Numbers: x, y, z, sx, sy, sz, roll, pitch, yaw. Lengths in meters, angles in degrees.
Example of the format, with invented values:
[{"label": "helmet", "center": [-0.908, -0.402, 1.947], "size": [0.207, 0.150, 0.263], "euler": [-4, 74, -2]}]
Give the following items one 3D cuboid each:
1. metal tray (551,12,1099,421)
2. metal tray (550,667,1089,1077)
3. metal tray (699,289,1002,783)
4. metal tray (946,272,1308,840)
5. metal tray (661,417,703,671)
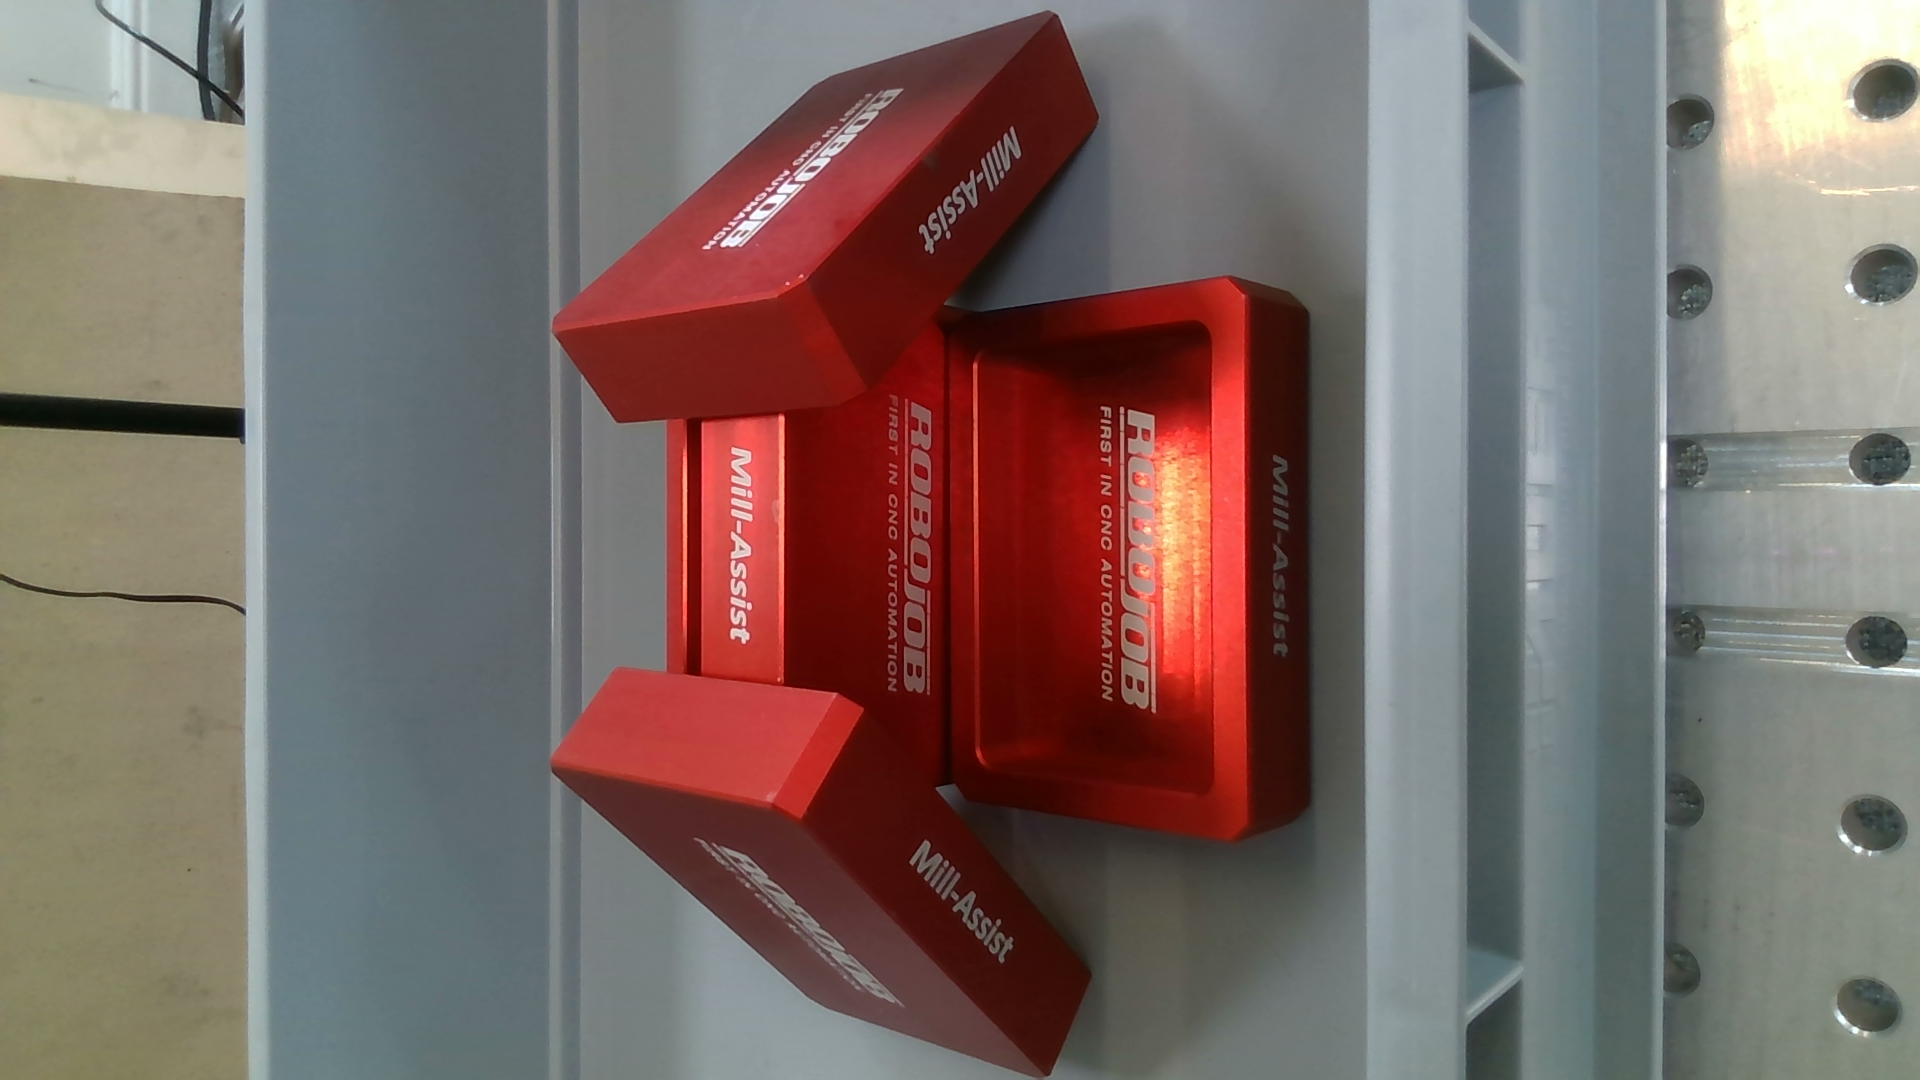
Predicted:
[{"label": "metal tray", "center": [-0.032, -0.084, 0.356], "size": [0.090, 0.130, 0.030], "euler": [1, 132, 40]}, {"label": "metal tray", "center": [-0.034, 0.087, 0.358], "size": [0.090, 0.130, 0.030], "euler": [1, 49, 40]}, {"label": "metal tray", "center": [-0.025, 0.000, 0.368], "size": [0.030, 0.090, 0.130], "euler": [1, 91, 40]}, {"label": "metal tray", "center": [0.040, 0.004, 0.352], "size": [0.090, 0.030, 0.130], "euler": [0, 91, 41]}, {"label": "metal tray", "center": [-0.053, 0.001, 0.429], "size": [0.090, 0.030, 0.130], "euler": [1, 91, 40]}]
